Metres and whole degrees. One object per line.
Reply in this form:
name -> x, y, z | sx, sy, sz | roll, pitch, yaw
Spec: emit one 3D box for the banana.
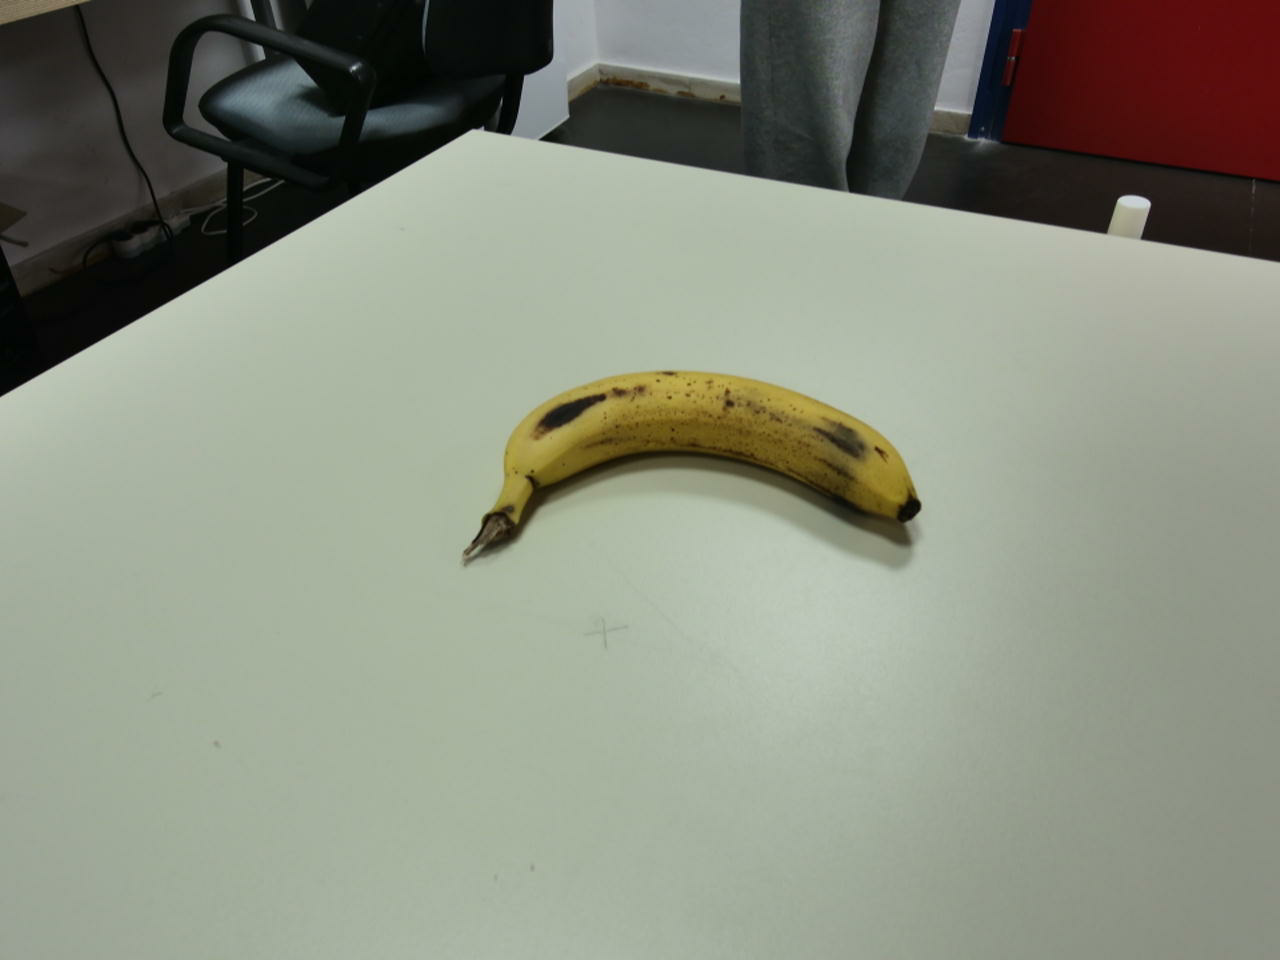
banana -> 0.023, -0.014, 0.447 | 0.186, 0.038, 0.097 | -1, 37, 0
